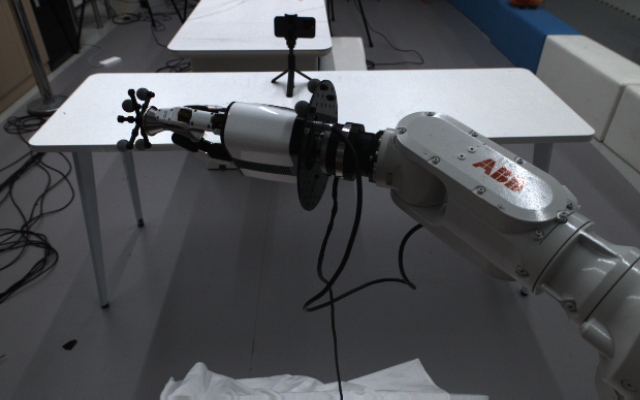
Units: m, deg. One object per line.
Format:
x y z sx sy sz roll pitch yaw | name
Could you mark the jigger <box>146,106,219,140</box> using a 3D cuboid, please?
-0.187 -0.104 0.638 0.071 0.043 0.043 8 35 13 | jigger
